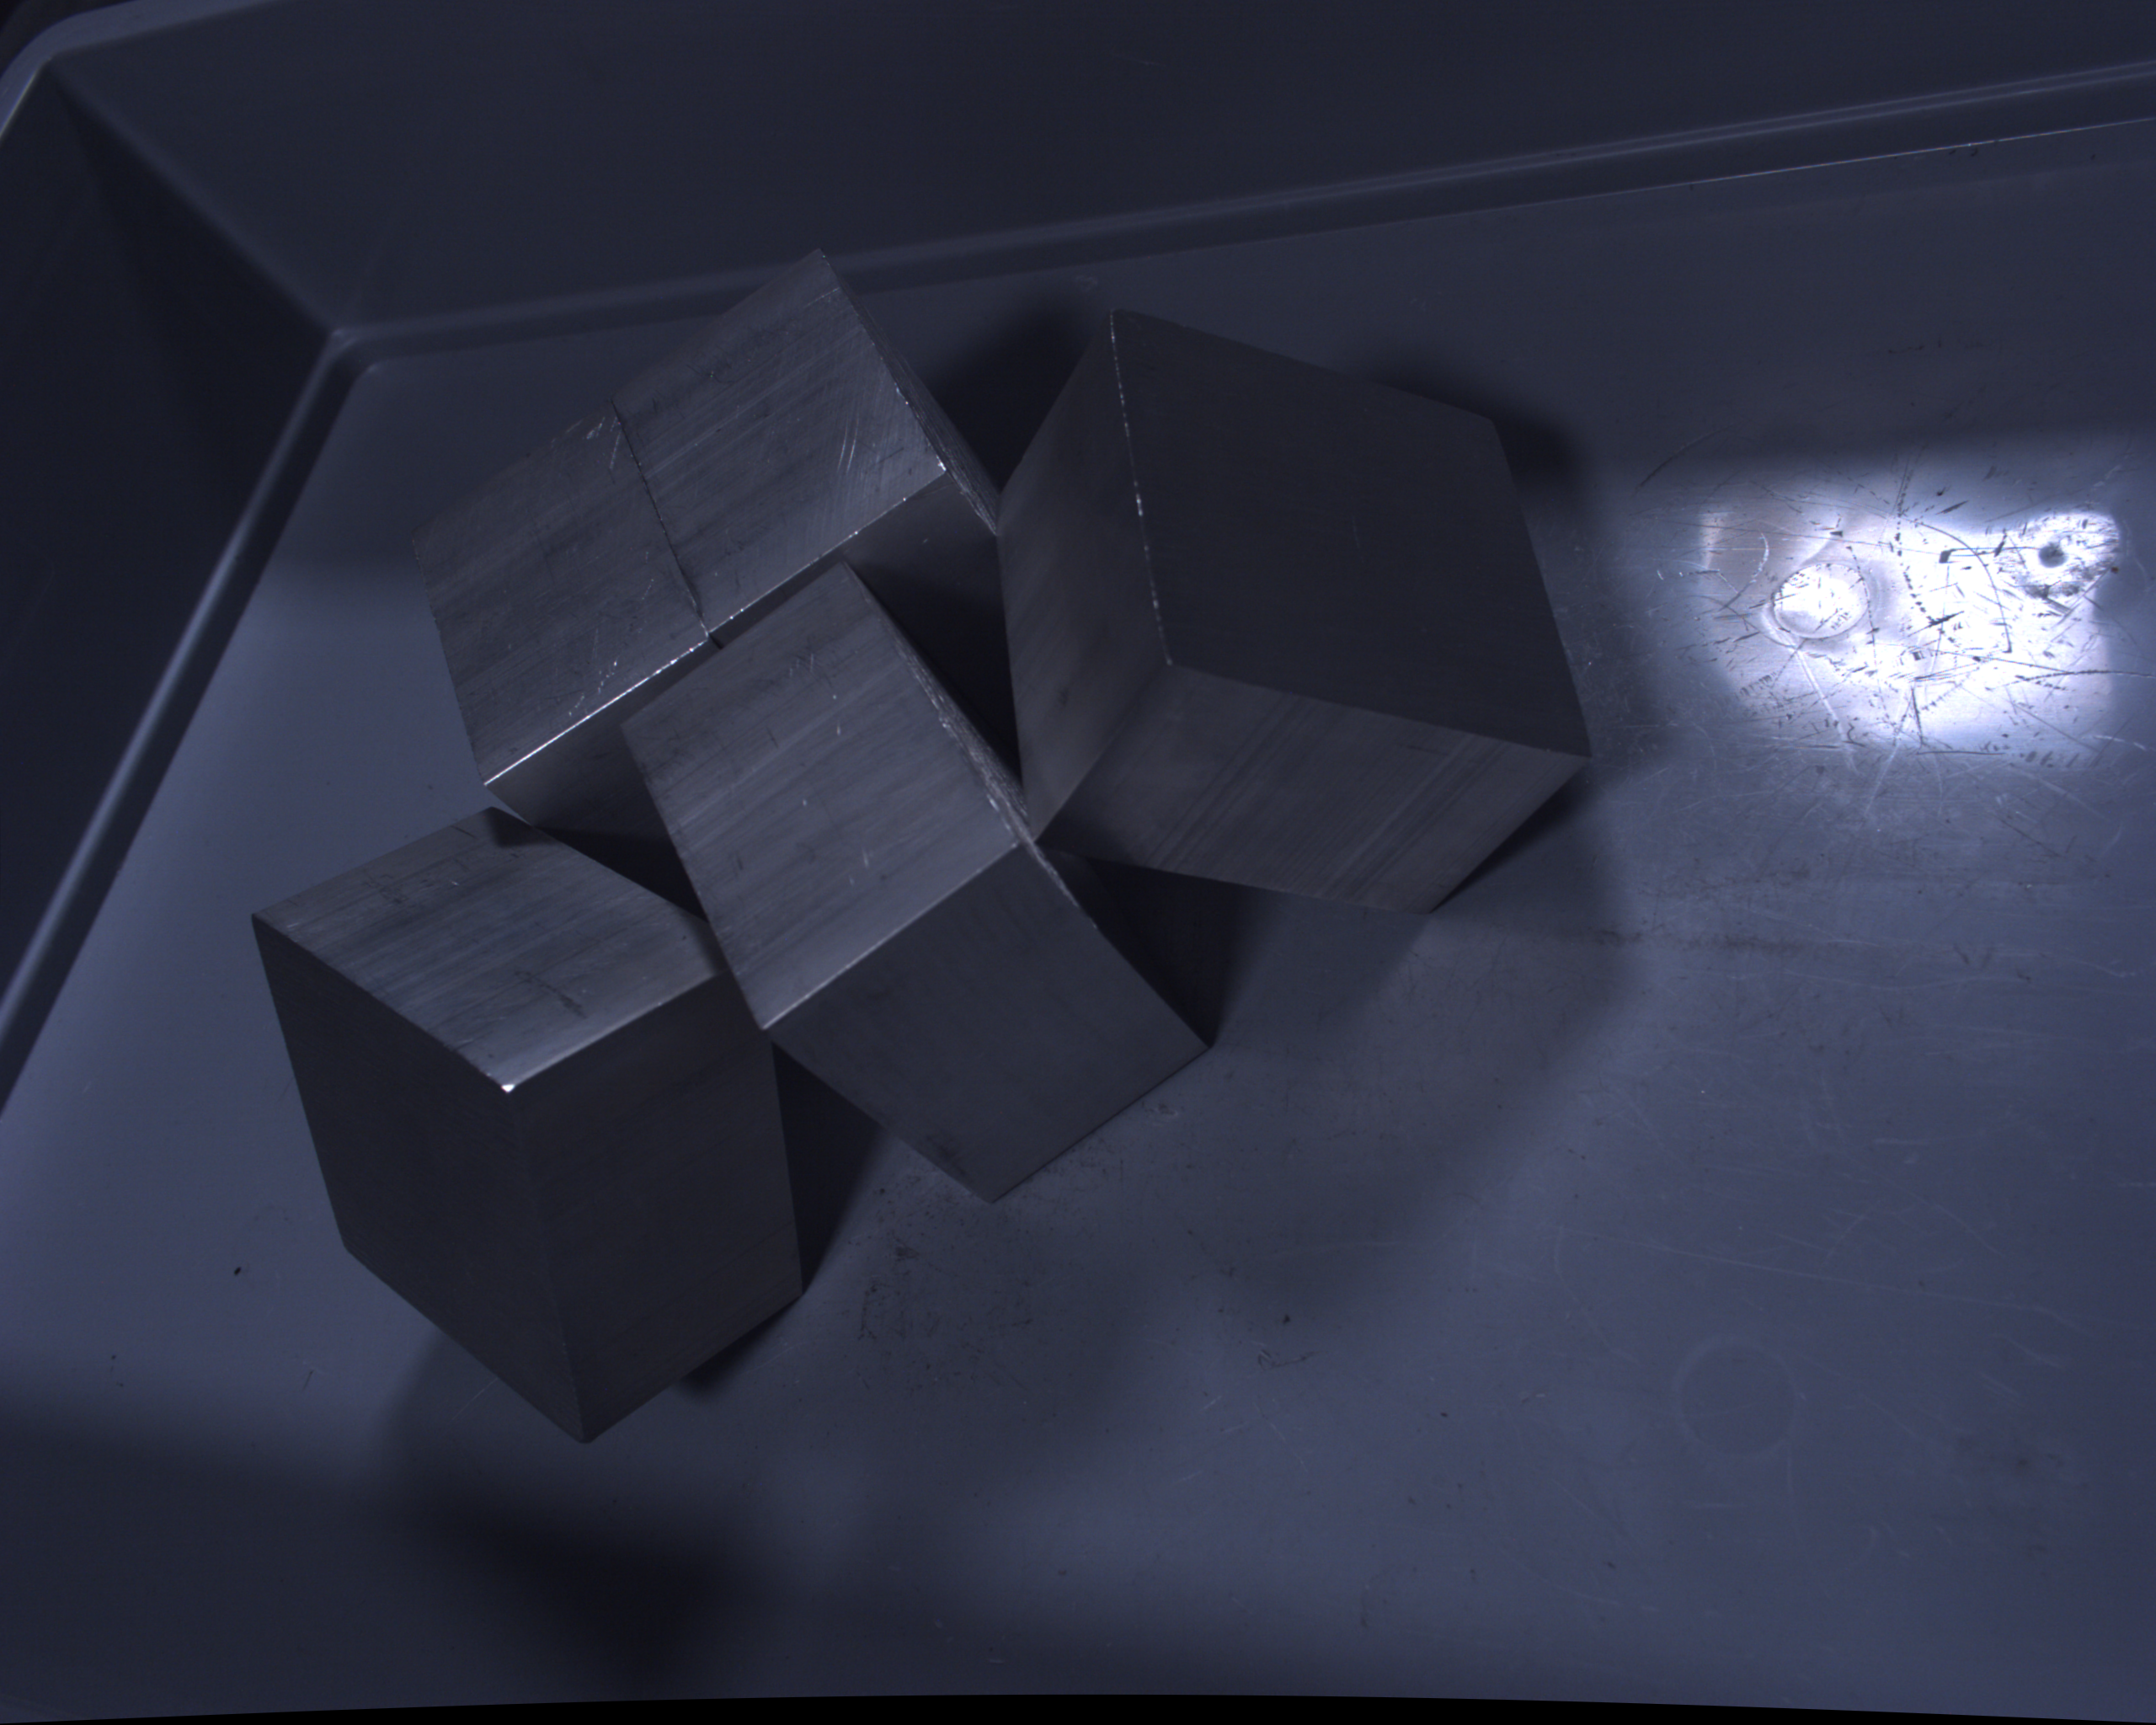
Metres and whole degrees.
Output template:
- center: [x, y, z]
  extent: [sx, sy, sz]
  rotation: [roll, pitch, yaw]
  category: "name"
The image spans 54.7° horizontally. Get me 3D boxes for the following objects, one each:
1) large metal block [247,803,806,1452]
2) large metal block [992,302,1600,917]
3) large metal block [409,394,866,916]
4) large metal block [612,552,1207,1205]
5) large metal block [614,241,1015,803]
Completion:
- center: [-0.099, 0.046, 0.382]
  extent: [0.080, 0.079, 0.050]
  rotation: [24, 40, 36]
  category: "large metal block"
- center: [0.035, -0.043, 0.367]
  extent: [0.050, 0.081, 0.080]
  rotation: [-52, 36, 46]
  category: "large metal block"
- center: [-0.086, -0.036, 0.434]
  extent: [0.050, 0.080, 0.080]
  rotation: [-33, 52, 7]
  category: "large metal block"
- center: [-0.030, 0.004, 0.380]
  extent: [0.050, 0.080, 0.080]
  rotation: [-36, 51, 4]
  category: "large metal block"
- center: [-0.042, -0.065, 0.429]
  extent: [0.050, 0.080, 0.080]
  rotation: [-34, 52, 6]
  category: "large metal block"
